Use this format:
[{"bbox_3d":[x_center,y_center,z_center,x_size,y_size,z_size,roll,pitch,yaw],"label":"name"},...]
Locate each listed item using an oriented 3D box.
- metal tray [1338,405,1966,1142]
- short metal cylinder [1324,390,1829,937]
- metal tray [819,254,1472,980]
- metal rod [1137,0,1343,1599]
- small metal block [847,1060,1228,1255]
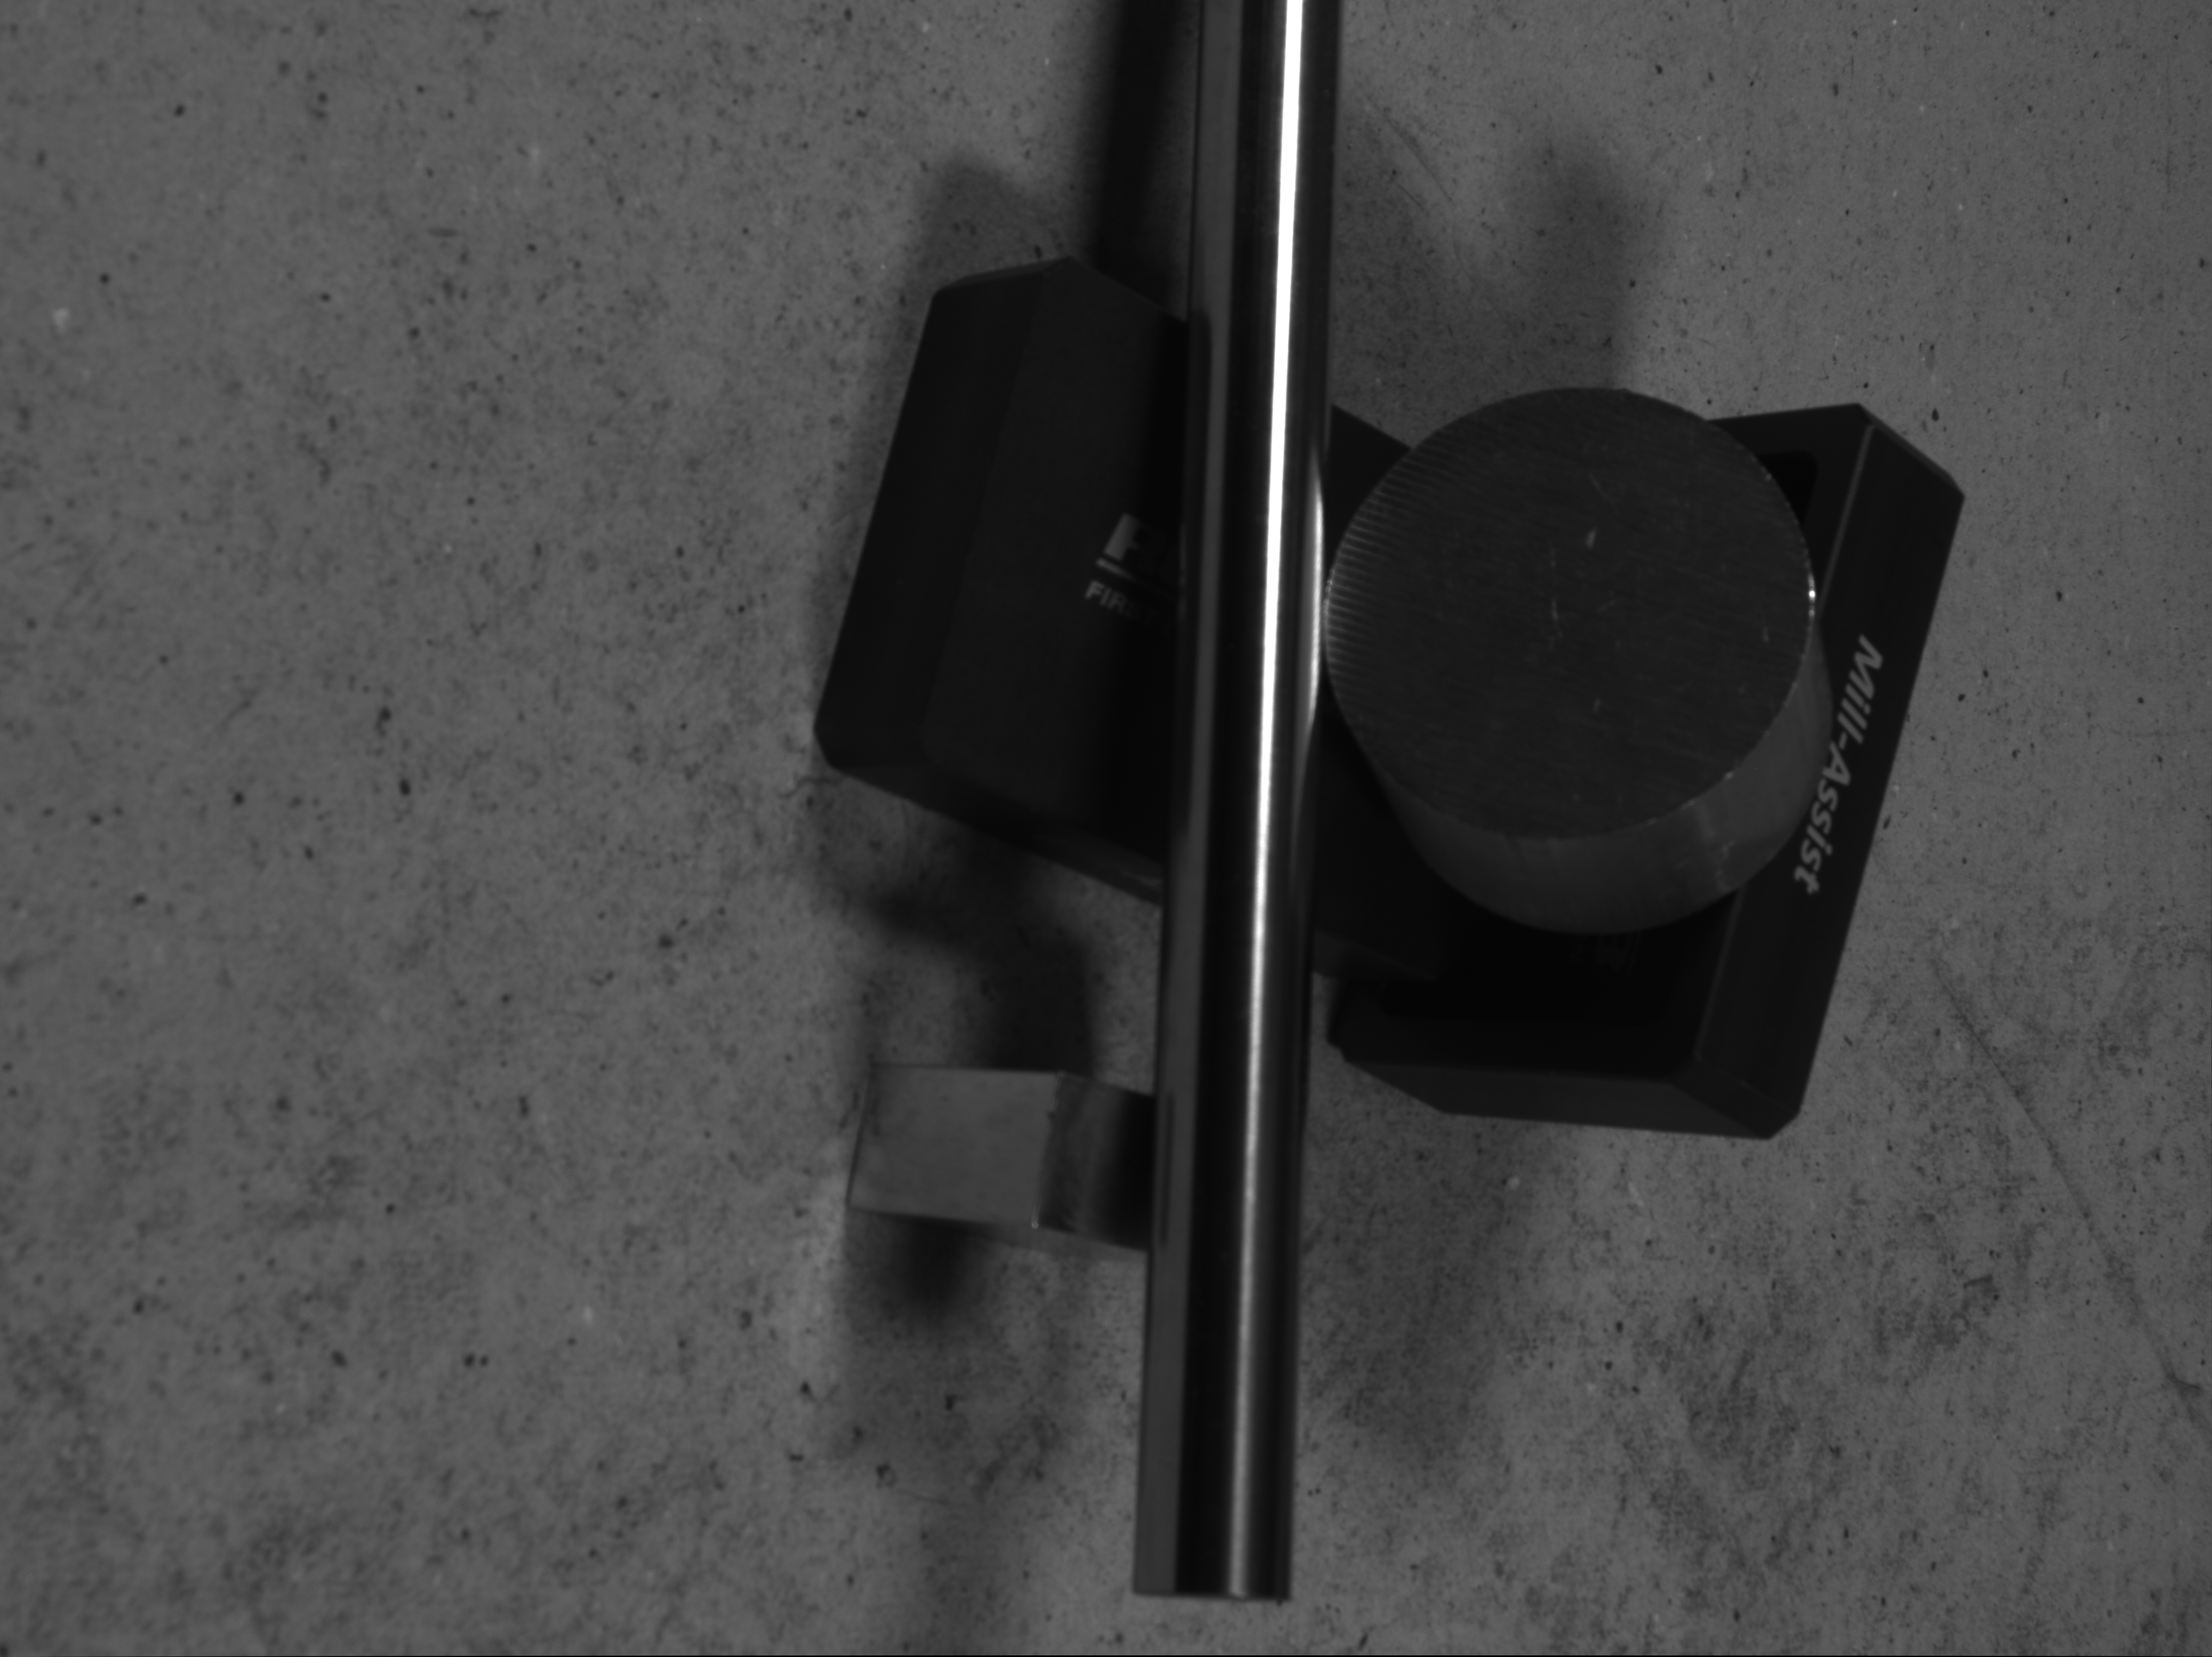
[{"bbox_3d":[0.100,-0.010,0.679,0.030,0.090,0.130,29,72,-36],"label":"metal tray"},{"bbox_3d":[0.081,-0.027,0.622,0.050,0.080,0.080,53,52,-66],"label":"short metal cylinder"},{"bbox_3d":[0.018,-0.034,0.649,0.130,0.030,0.090,23,75,-37],"label":"metal tray"},{"bbox_3d":[0.024,-0.026,0.607,0.025,0.025,0.300,14,72,-39],"label":"metal rod"},{"bbox_3d":[-0.007,0.057,0.615,0.050,0.050,0.025,17,79,-39],"label":"small metal block"}]
